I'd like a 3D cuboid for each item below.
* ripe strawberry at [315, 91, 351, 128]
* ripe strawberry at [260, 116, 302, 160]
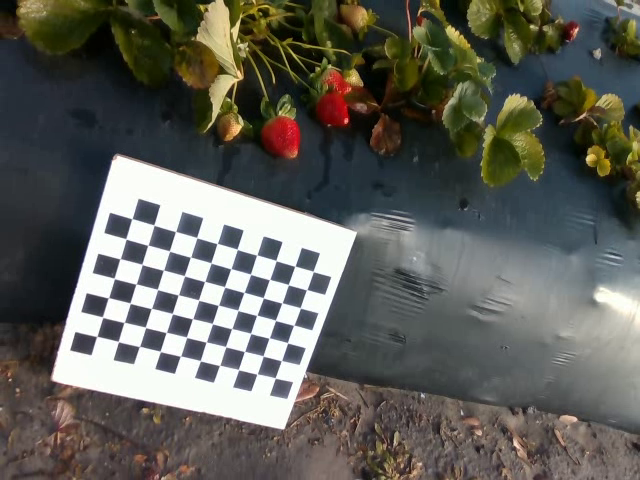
[{"bbox_3d":[0.017,-0.159,0.796,0.055,0.045,0.042,46,2,33],"label":"ripe strawberry"},{"bbox_3d":[-0.043,-0.120,0.749,0.050,0.065,0.050,-22,-38,-5],"label":"ripe strawberry"}]
